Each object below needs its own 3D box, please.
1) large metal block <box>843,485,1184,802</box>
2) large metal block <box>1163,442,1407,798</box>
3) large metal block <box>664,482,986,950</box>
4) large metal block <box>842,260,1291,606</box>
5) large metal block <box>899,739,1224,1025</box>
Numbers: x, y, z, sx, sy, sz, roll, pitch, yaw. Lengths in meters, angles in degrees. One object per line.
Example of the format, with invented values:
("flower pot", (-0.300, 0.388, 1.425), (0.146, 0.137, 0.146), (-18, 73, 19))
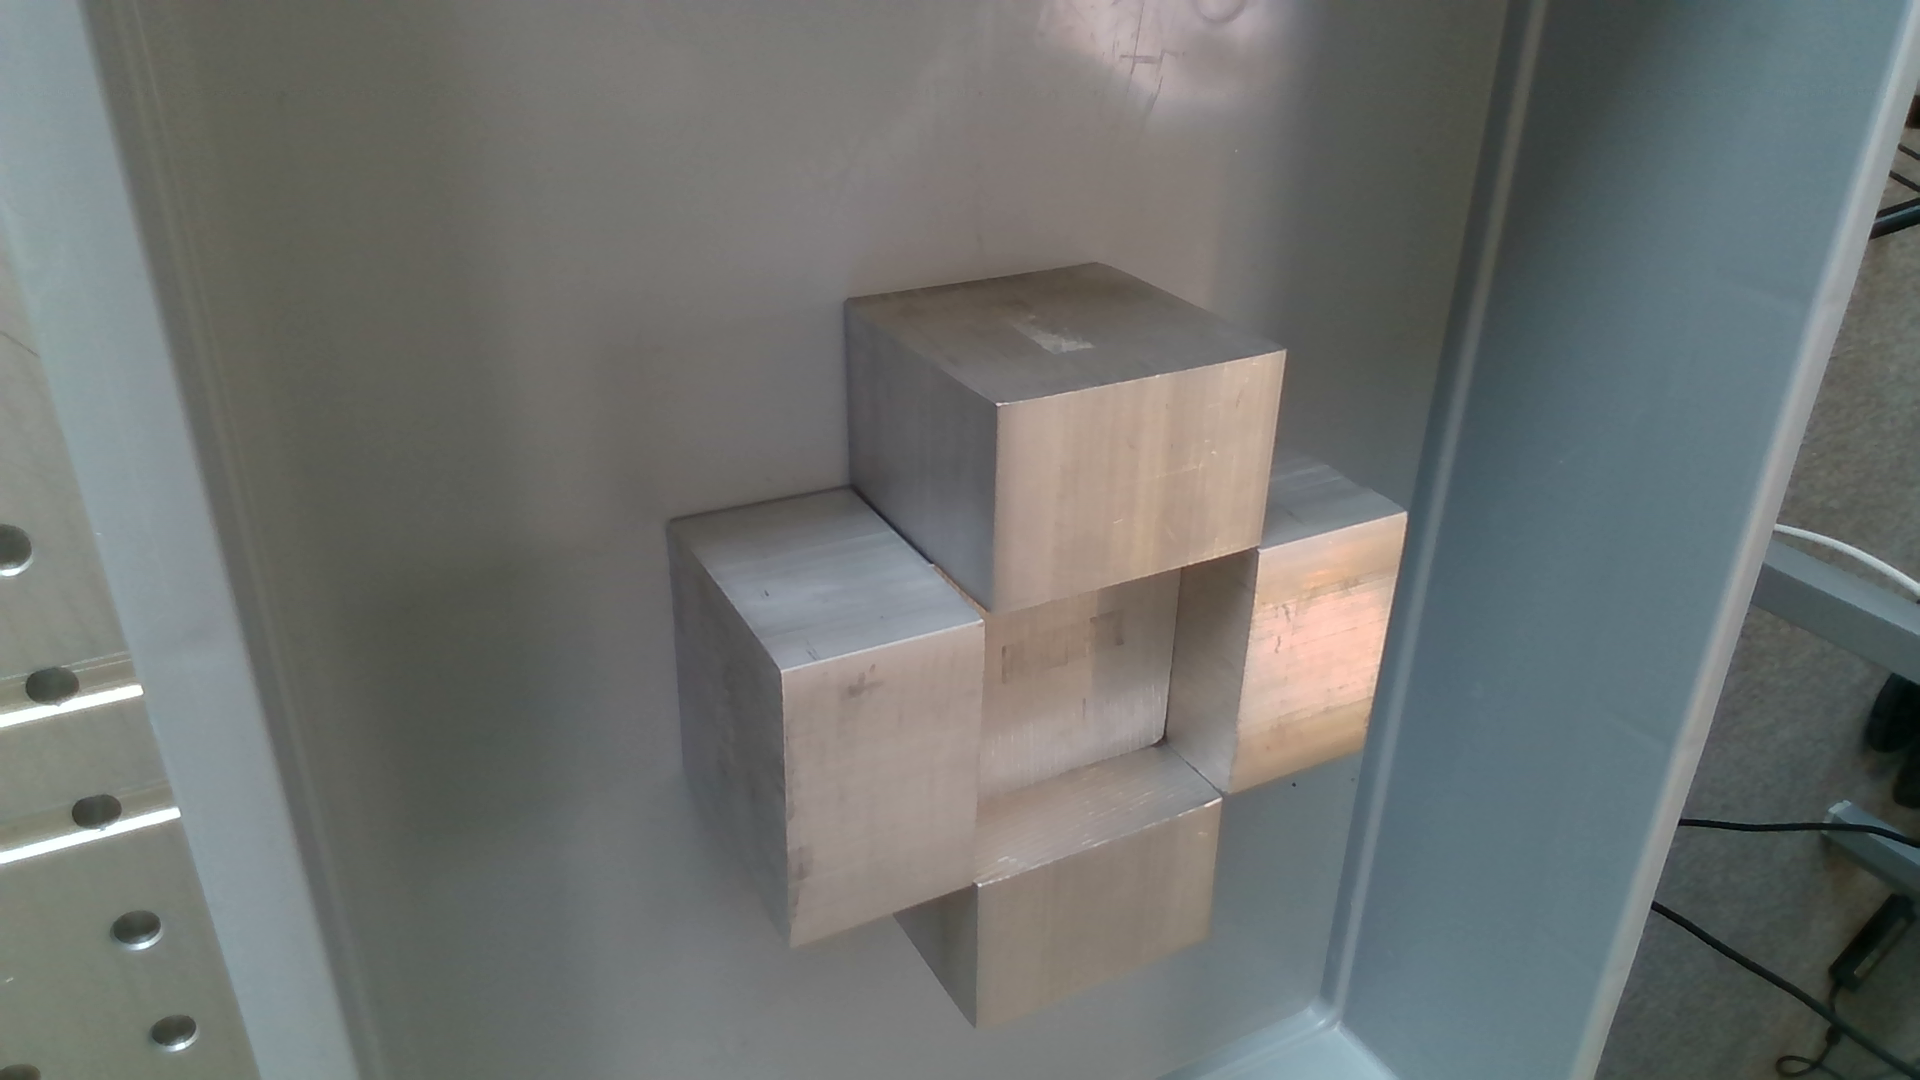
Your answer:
("large metal block", (0.015, 0.022, 0.392), (0.080, 0.050, 0.080), (-14, 121, -25))
("large metal block", (0.079, 0.015, 0.410), (0.050, 0.080, 0.080), (-14, 121, -25))
("large metal block", (-0.036, 0.041, 0.353), (0.050, 0.080, 0.080), (-13, 121, -26))
("large metal block", (0.024, -0.032, 0.351), (0.080, 0.080, 0.050), (-14, 121, -25))
("large metal block", (0.020, 0.085, 0.412), (0.080, 0.080, 0.050), (-14, 121, -25))
